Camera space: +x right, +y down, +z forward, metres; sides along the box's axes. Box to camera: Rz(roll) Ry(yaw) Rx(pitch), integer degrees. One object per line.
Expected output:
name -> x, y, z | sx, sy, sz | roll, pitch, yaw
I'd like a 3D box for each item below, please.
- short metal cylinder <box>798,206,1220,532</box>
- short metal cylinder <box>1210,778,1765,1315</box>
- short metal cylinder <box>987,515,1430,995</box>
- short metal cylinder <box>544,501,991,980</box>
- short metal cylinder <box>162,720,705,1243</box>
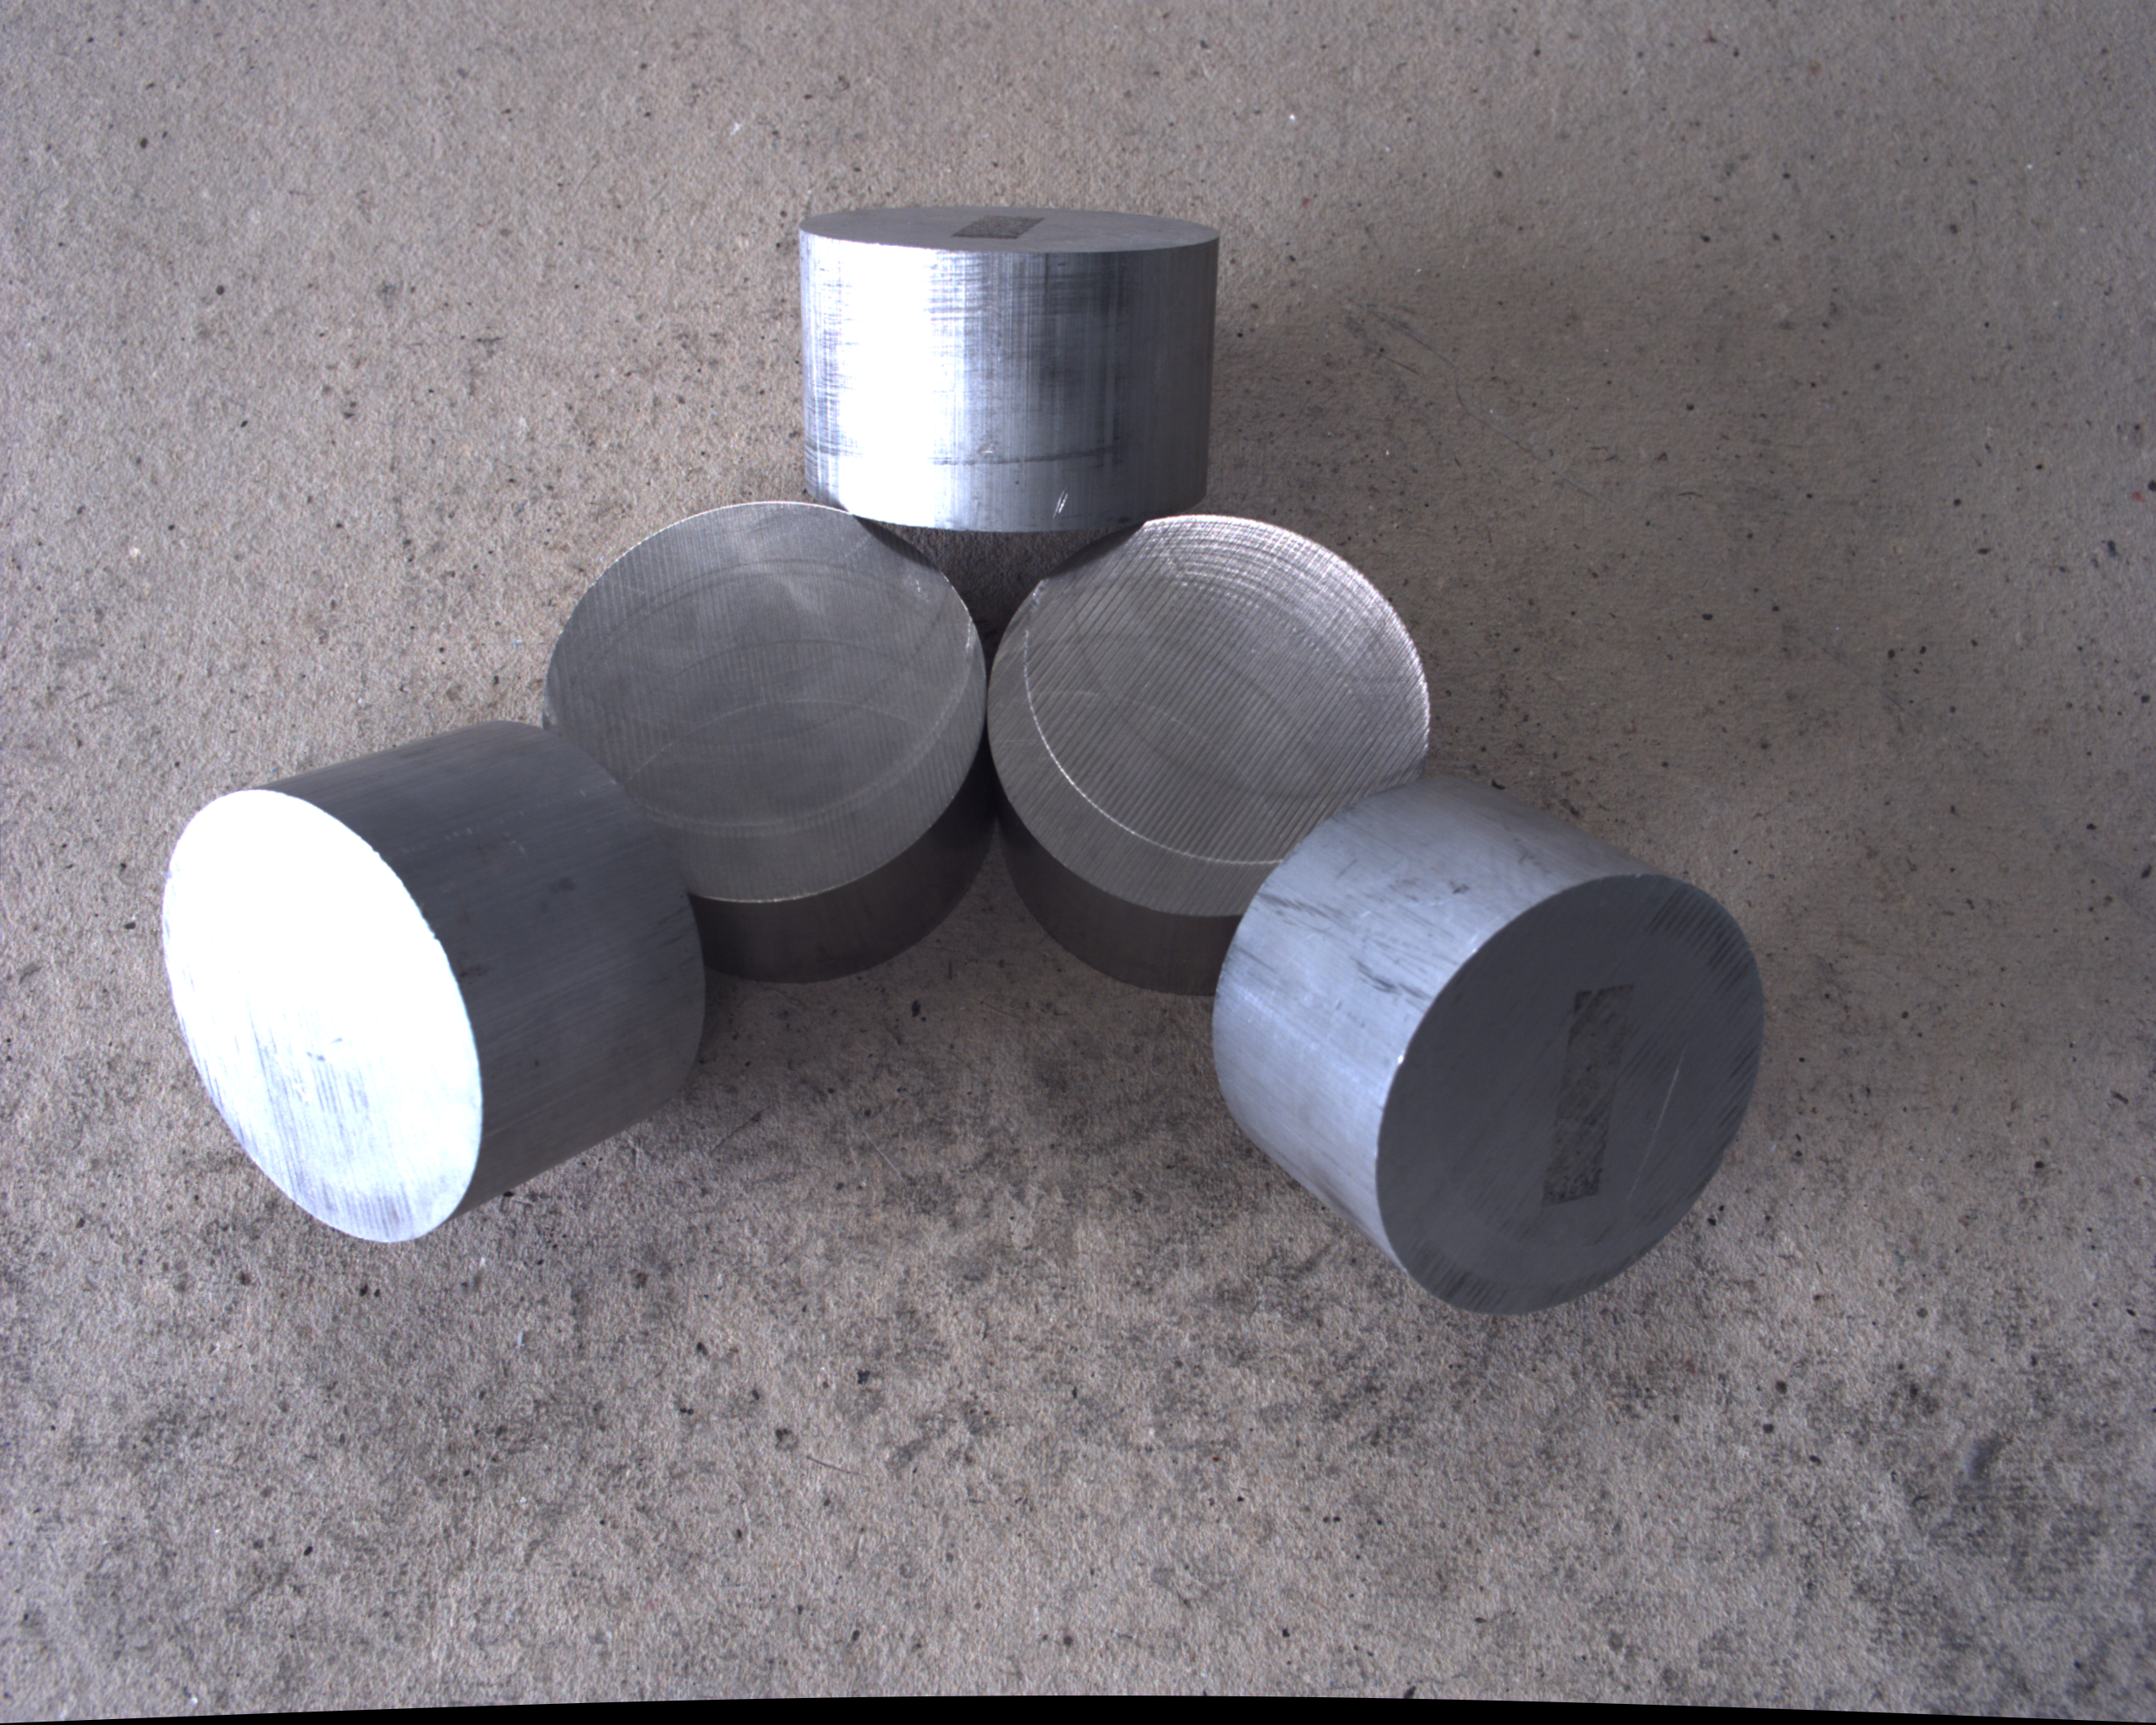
short metal cylinder -> -0.014, -0.099, 0.410 | 0.080, 0.080, 0.050 | 2, 113, 0
short metal cylinder -> 0.071, 0.031, 0.363 | 0.080, 0.080, 0.050 | -35, 32, -12
short metal cylinder -> 0.024, -0.020, 0.403 | 0.081, 0.050, 0.080 | 0, 70, 0
short metal cylinder -> -0.057, -0.023, 0.403 | 0.081, 0.050, 0.080 | 0, 70, 0
short metal cylinder -> -0.113, 0.019, 0.365 | 0.080, 0.080, 0.050 | 45, 36, 14
